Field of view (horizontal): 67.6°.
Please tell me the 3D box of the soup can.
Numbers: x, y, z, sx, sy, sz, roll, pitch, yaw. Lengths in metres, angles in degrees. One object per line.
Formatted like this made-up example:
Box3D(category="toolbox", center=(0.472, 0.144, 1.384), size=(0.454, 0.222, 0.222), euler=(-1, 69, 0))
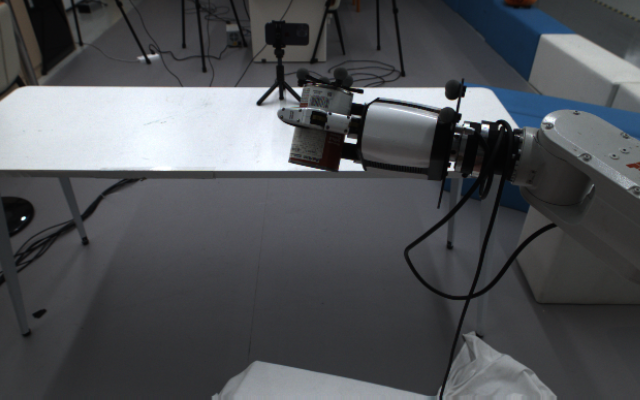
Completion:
Box3D(category="soup can", center=(0.002, -0.092, 0.625), size=(0.067, 0.101, 0.067), euler=(11, 2, 0))
